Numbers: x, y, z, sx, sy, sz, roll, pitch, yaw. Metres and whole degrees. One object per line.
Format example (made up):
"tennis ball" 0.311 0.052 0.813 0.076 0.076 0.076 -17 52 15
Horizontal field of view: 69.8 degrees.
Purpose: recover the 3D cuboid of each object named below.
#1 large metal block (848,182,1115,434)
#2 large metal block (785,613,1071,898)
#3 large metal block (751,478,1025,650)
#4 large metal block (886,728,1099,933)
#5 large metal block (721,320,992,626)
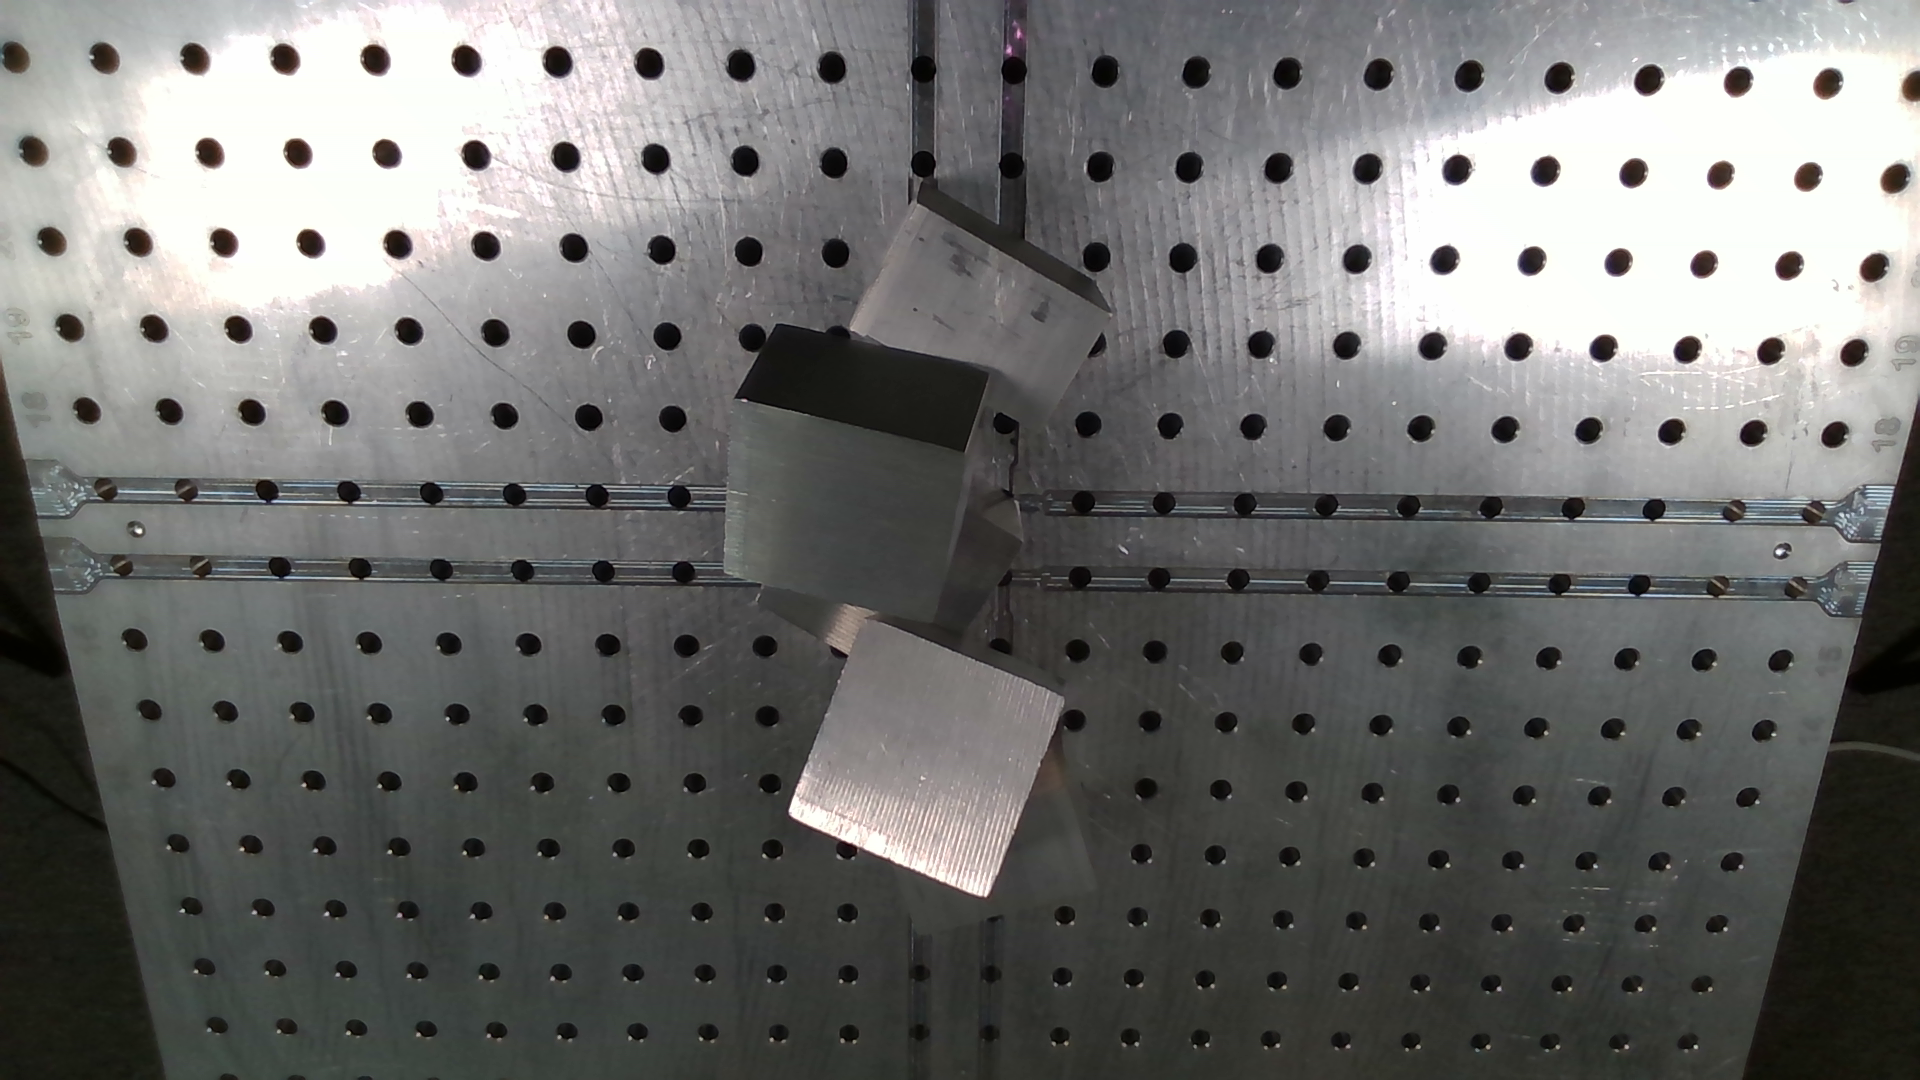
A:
"large metal block" 0.008 -0.091 0.524 0.080 0.080 0.050 28 108 -10
"large metal block" -0.010 0.078 0.529 0.080 0.050 0.080 22 94 6
"large metal block" -0.029 0.005 0.575 0.080 0.050 0.080 30 107 -11
"large metal block" 0.012 0.118 0.601 0.080 0.080 0.050 -15 109 6
"large metal block" -0.038 -0.024 0.495 0.080 0.050 0.080 13 131 2
